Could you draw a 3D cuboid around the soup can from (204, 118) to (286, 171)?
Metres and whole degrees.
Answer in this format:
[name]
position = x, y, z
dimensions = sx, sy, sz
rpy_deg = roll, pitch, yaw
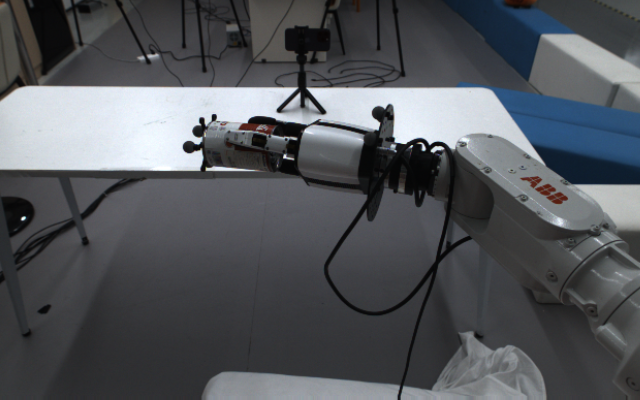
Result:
[soup can]
position = -0.108, -0.077, 0.698
dimensions = 0.101, 0.067, 0.067
rpy_deg = 6, 35, 11
